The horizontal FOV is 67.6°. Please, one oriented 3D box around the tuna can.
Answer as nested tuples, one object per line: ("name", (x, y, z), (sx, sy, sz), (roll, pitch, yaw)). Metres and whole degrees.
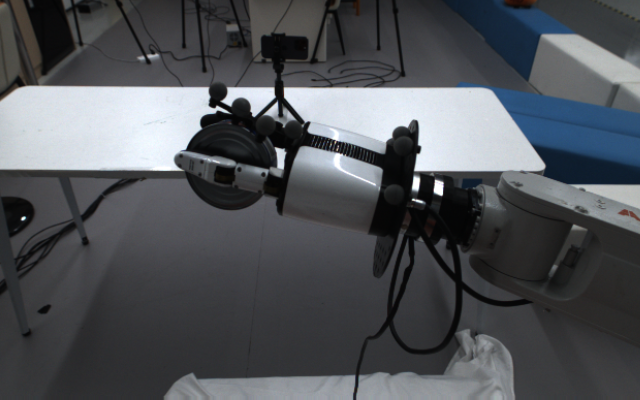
("tuna can", (-0.084, -0.036, 0.476), (0.085, 0.085, 0.034), (7, 16, 6))
